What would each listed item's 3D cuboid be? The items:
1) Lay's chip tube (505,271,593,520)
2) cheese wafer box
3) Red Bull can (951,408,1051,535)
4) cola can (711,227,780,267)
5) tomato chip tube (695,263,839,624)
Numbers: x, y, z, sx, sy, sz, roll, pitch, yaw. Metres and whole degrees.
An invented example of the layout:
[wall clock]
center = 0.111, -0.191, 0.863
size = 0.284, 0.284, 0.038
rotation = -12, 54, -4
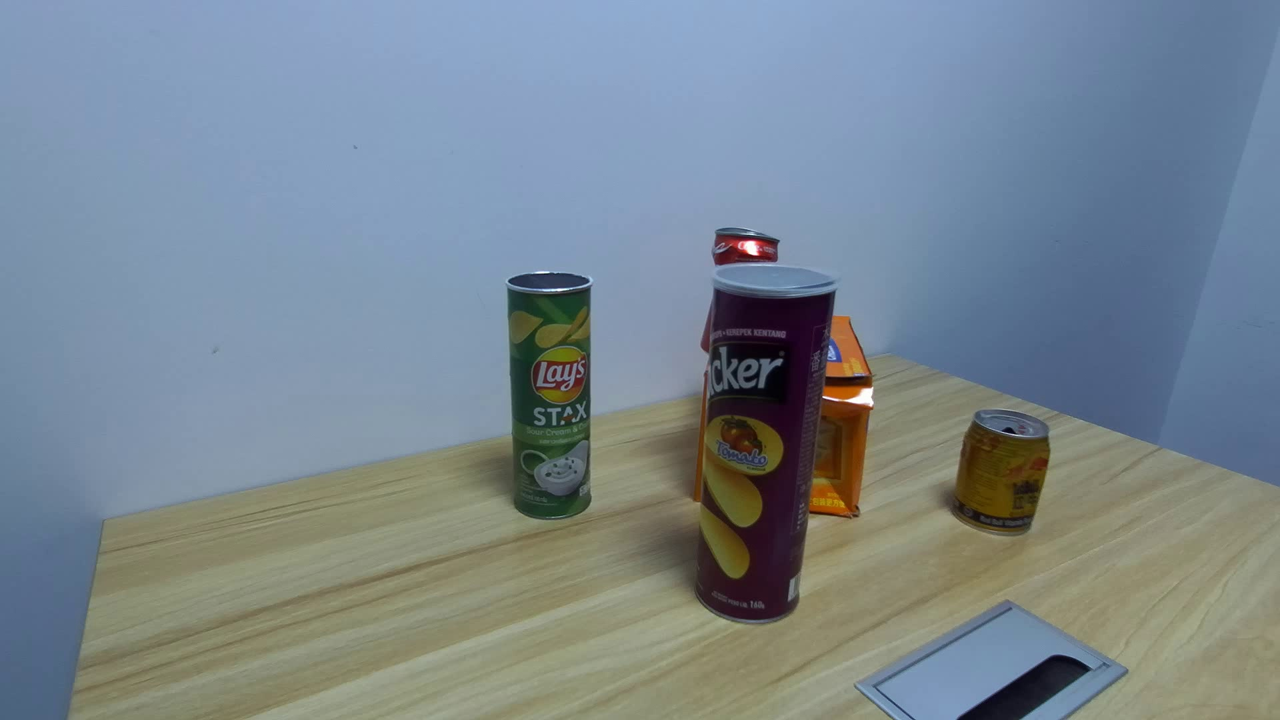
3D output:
[Lay's chip tube]
center = -0.075, 0.030, 0.601
size = 0.071, 0.202, 0.071
rotation = 1, 19, 0
[cheese wafer box]
center = 0.142, 0.039, 0.702
size = 0.149, 0.137, 0.227
rotation = 5, 18, 9
[Red Bull can]
center = 0.313, 0.098, 0.613
size = 0.069, 0.092, 0.069
rotation = 3, 17, 0
[cola can]
center = 0.086, -0.055, 0.609
size = 0.065, 0.112, 0.069
rotation = 12, 20, 30
[tomato chip tube]
center = 0.080, 0.058, 0.474
size = 0.078, 0.234, 0.078
rotation = 1, 20, 0
